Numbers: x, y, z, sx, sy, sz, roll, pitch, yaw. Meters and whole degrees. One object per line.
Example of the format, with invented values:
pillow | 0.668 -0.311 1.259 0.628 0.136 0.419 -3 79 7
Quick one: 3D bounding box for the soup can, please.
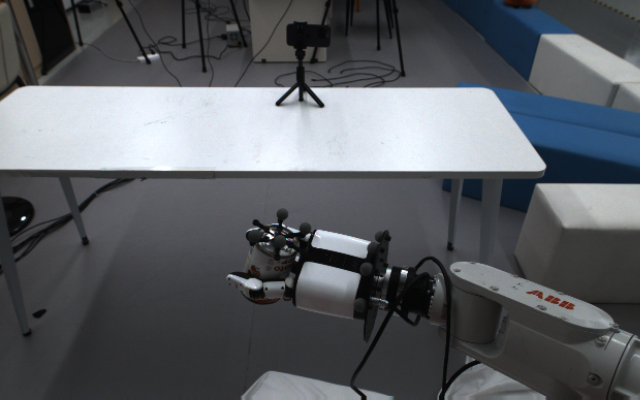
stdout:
soup can | -0.074 0.094 0.703 0.067 0.101 0.067 14 36 -10
